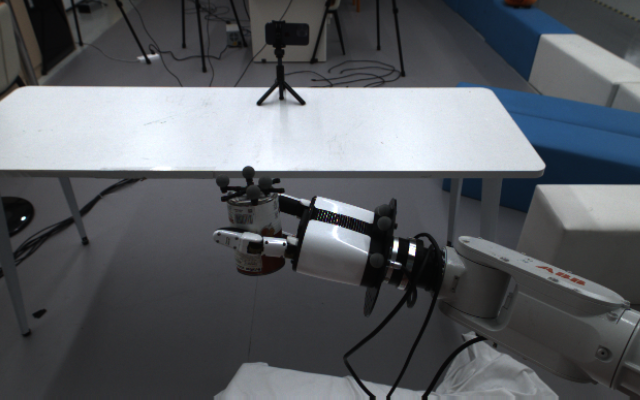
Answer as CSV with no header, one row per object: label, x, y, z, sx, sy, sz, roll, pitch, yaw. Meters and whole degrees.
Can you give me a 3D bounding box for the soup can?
soup can,-0.081,0.040,0.633,0.067,0.101,0.067,-4,21,2
